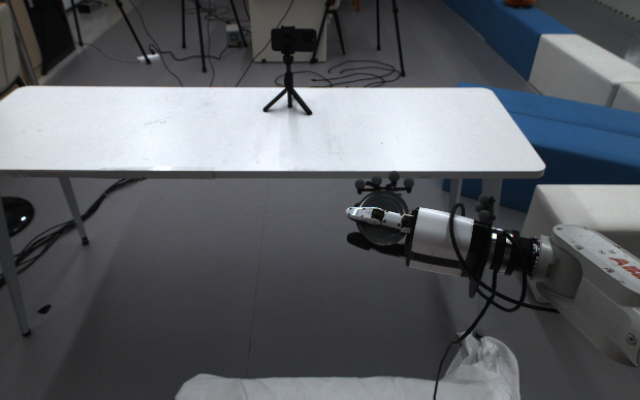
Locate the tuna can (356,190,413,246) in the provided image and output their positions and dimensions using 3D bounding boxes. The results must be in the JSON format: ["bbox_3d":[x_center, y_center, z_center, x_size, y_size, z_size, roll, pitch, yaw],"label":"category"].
[{"bbox_3d":[0.101,0.028,0.773,0.085,0.034,0.085,-4,73,15],"label":"tuna can"}]
